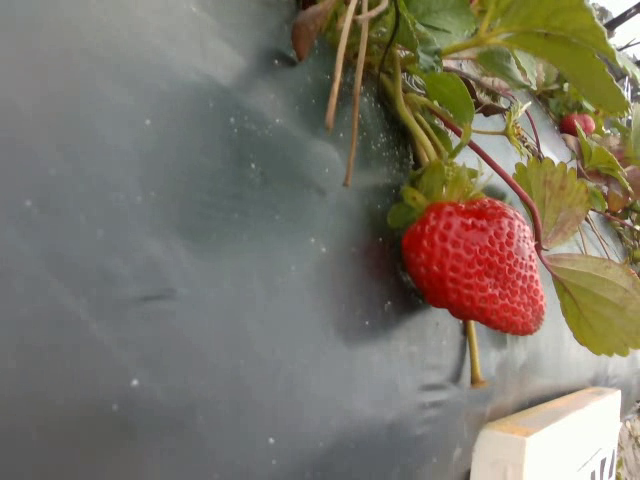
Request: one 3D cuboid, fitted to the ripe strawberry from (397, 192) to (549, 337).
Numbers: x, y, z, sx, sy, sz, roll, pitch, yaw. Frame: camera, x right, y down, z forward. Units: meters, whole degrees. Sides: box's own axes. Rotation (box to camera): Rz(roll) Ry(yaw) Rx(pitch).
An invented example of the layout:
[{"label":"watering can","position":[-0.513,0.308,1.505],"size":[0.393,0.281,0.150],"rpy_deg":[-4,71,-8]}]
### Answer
[{"label":"ripe strawberry","position":[0.016,0.003,0.059],"size":[0.014,0.017,0.018],"rpy_deg":[-39,-23,5]}]
